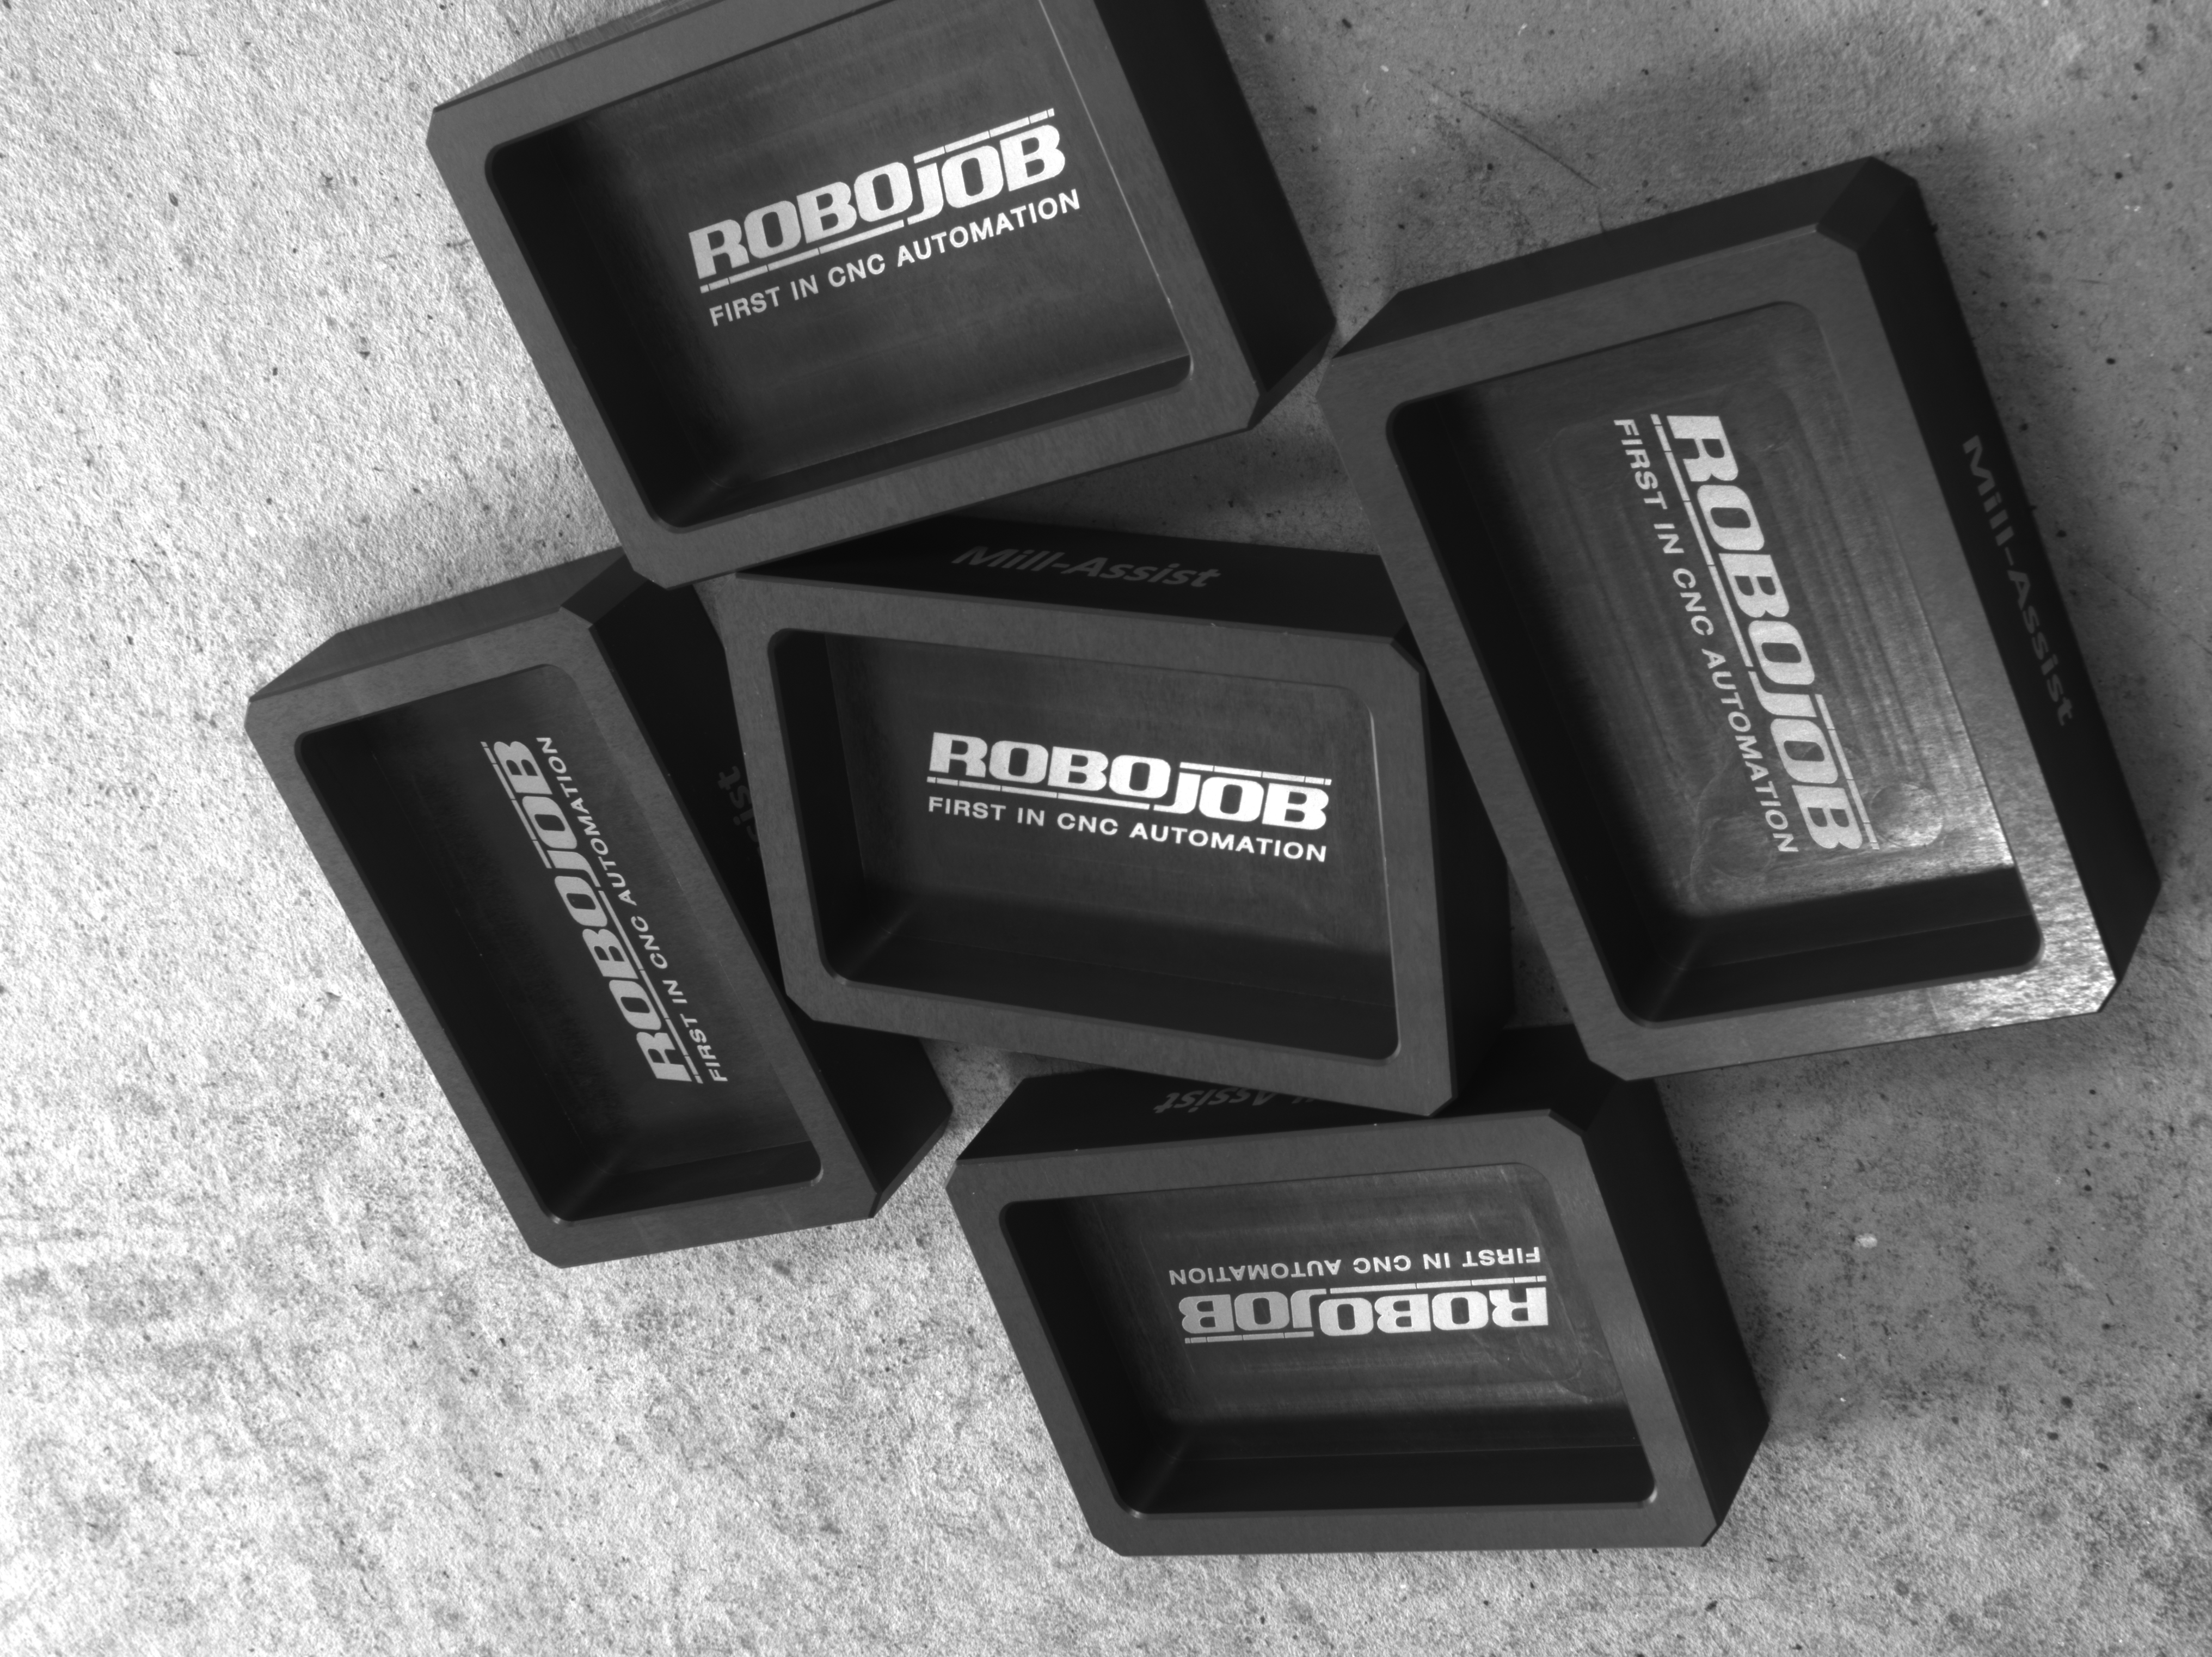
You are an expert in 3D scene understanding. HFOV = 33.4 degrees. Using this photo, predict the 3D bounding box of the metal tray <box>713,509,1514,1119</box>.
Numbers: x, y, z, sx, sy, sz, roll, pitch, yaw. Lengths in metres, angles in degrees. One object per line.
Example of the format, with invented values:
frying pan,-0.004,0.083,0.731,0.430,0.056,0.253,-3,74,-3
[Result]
metal tray,0.002,-0.004,0.636,0.130,0.030,0.090,8,124,25

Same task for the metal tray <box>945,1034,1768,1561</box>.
metal tray,0.044,0.087,0.668,0.130,0.030,0.090,-8,114,32

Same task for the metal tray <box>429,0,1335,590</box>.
metal tray,-0.038,-0.097,0.601,0.130,0.030,0.090,-11,113,34

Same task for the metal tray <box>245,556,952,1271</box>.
metal tray,-0.096,0.018,0.702,0.090,0.030,0.130,-12,112,34

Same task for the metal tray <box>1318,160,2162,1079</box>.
metal tray,0.099,-0.028,0.569,0.090,0.030,0.130,-11,113,34
